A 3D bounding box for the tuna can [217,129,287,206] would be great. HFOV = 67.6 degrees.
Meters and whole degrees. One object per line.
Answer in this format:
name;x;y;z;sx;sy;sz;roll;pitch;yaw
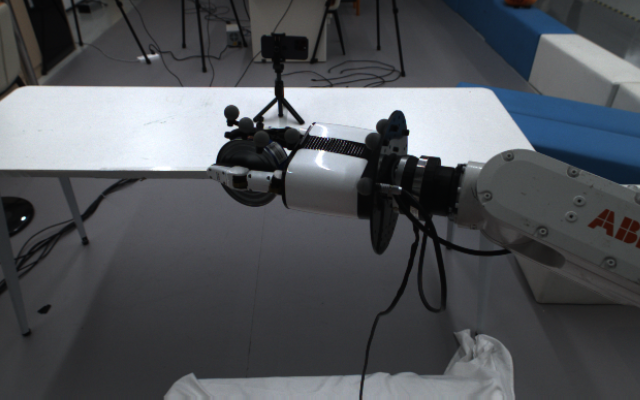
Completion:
tuna can;-0.077;-0.038;0.579;0.085;0.085;0.034;16;29;19
